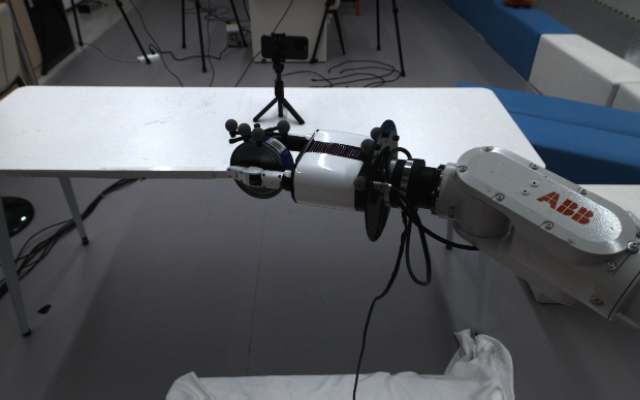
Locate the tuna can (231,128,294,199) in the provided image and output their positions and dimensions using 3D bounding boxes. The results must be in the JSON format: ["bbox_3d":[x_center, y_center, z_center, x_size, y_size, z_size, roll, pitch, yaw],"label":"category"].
[{"bbox_3d":[-0.079,-0.048,0.678,0.085,0.085,0.034,14,29,17],"label":"tuna can"}]
